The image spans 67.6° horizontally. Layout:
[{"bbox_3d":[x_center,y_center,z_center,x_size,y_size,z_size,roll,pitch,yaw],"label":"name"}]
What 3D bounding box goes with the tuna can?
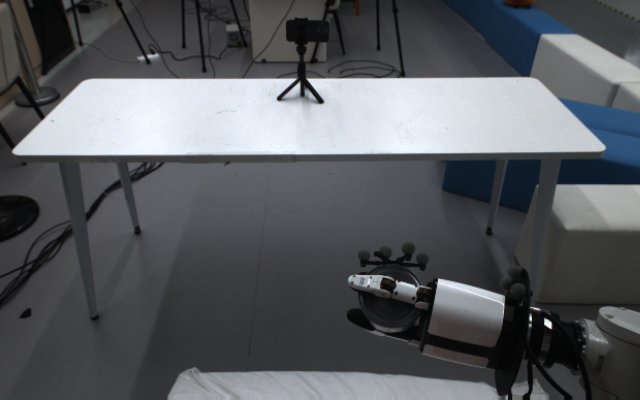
[{"bbox_3d":[0.096,0.129,0.641,0.085,0.034,0.085,-4,62,7],"label":"tuna can"}]
